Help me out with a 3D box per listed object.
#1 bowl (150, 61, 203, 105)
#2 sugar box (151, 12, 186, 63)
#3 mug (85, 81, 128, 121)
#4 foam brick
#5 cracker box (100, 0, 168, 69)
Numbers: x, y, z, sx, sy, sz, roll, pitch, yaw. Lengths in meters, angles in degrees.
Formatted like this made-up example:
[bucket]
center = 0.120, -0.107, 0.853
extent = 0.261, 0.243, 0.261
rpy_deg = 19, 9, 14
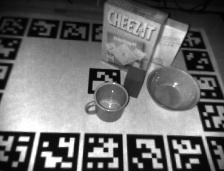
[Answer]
[bowl]
center = 0.187, 0.003, 0.648
extent = 0.162, 0.055, 0.161
rpy_deg = 4, 56, -5
[sugar box]
center = 0.161, -0.146, 0.685
extent = 0.092, 0.177, 0.045
rpy_deg = 19, 56, 7
[mug]
center = -0.016, 0.043, 0.586
extent = 0.118, 0.082, 0.092
rpy_deg = -6, 49, -9
[foam brick]
center = 0.064, -0.025, 0.655
extent = 0.052, 0.078, 0.051
rpy_deg = 14, 55, 4
[cracker box]
center = 0.052, -0.149, 0.651
extent = 0.163, 0.214, 0.072
rpy_deg = 26, 55, 11
